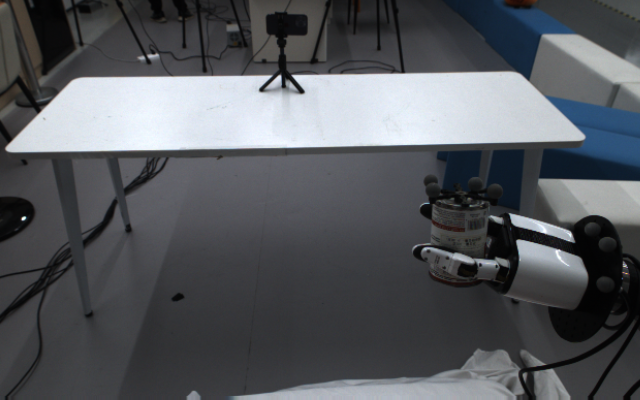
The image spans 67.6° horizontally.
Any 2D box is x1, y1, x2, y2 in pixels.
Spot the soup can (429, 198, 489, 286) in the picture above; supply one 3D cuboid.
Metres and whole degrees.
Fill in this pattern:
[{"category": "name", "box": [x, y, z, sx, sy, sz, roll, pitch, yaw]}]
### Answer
[{"category": "soup can", "box": [0.172, 0.046, 0.594, 0.067, 0.101, 0.067, -1, 17, 0]}]
